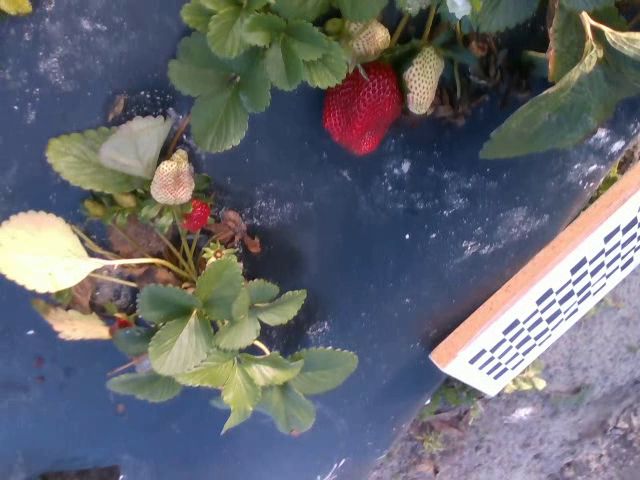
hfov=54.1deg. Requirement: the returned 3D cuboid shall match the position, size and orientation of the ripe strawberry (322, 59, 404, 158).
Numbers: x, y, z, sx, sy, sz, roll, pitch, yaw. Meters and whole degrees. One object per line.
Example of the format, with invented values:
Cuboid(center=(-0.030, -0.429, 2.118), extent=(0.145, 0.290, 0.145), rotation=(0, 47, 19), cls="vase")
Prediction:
Cuboid(center=(0.029, -0.089, 0.421), extent=(0.057, 0.071, 0.058), rotation=(21, -17, 26), cls="ripe strawberry")
